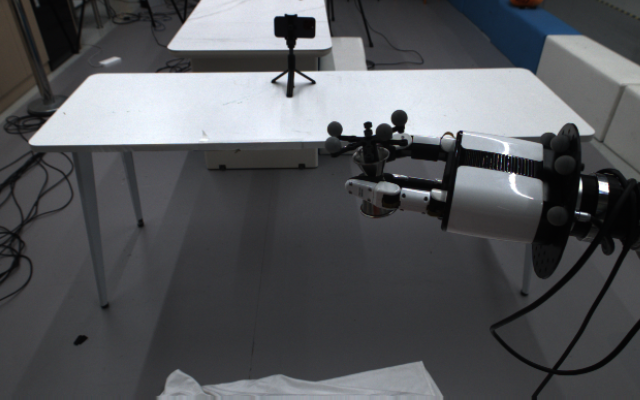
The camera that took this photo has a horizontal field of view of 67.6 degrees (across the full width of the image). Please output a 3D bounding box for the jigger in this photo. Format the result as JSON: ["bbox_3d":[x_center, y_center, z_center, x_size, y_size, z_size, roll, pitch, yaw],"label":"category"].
[{"bbox_3d":[0.061,-0.020,0.538,0.043,0.071,0.043,-10,32,6],"label":"jigger"}]
